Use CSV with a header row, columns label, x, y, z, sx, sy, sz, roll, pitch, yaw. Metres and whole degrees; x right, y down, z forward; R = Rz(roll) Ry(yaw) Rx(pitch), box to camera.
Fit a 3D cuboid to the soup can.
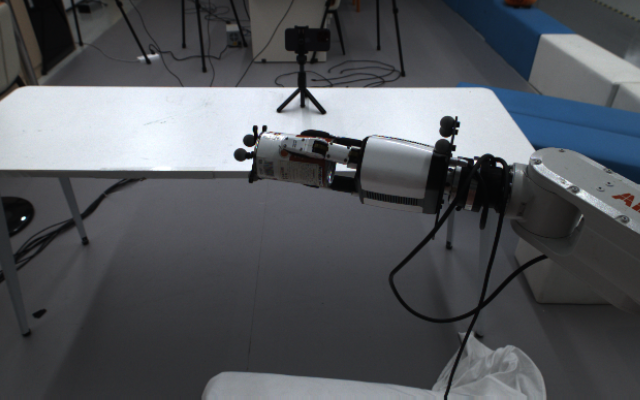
label,x,y,z,sx,sy,sz,roll,pitch,yaw
soup can,-0.031,-0.056,0.664,0.101,0.067,0.067,8,35,10
